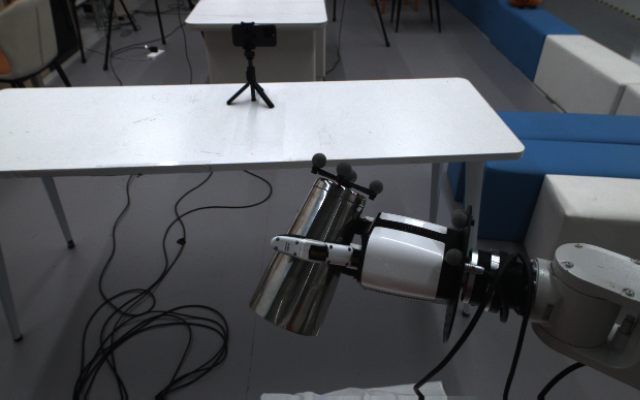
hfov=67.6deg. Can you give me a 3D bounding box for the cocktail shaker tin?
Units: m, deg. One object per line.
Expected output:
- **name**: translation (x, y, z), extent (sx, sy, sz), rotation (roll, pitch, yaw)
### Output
- **cocktail shaker tin**: translation (-0.006, 0.062, 0.579), extent (0.093, 0.170, 0.093), rotation (23, -1, 0)
